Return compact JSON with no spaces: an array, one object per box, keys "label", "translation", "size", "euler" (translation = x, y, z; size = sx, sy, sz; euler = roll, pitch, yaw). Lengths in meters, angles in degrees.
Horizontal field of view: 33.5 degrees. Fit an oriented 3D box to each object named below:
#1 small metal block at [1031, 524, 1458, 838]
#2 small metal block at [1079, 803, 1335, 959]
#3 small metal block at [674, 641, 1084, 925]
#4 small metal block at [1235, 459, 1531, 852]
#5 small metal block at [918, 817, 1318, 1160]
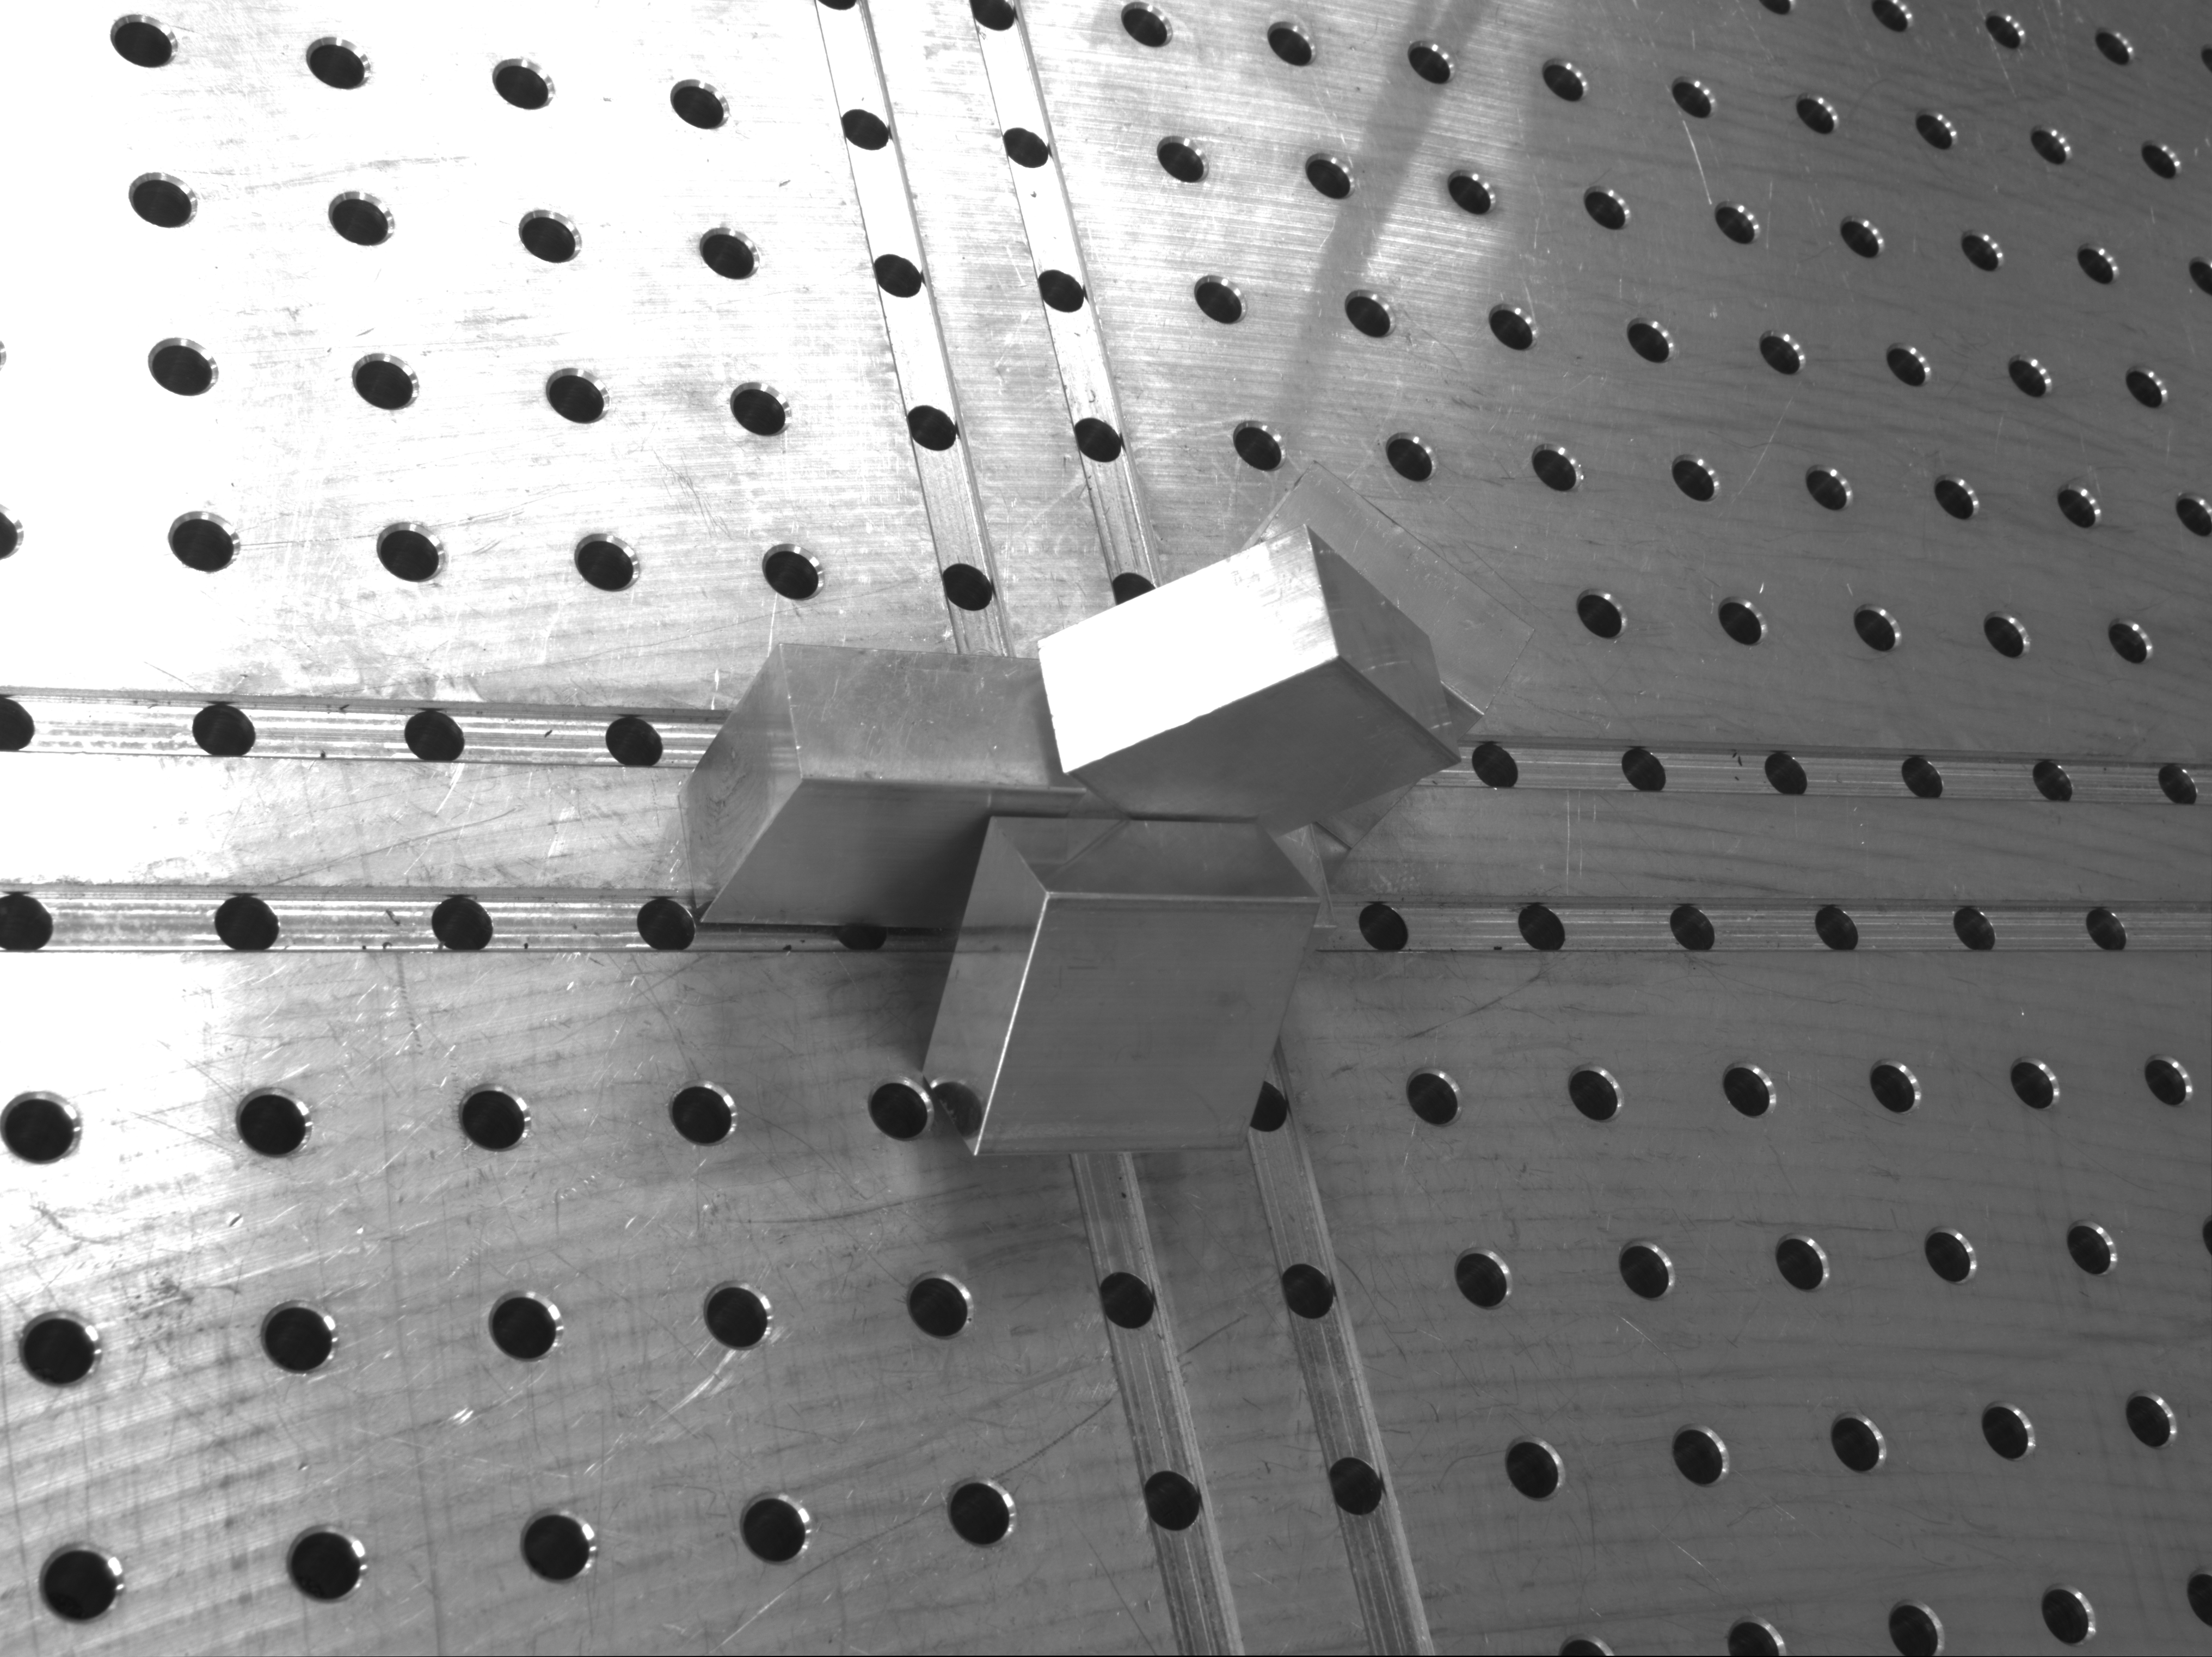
[{"label":"small metal block","translation":[0.023,-0.021,0.606],"size":[0.050,0.050,0.025],"euler":[34,39,-56]},{"label":"small metal block","translation":[0.007,0.000,0.646],"size":[0.050,0.025,0.050],"euler":[2,61,-28]},{"label":"small metal block","translation":[-0.038,-0.006,0.609],"size":[0.050,0.050,0.025],"euler":[1,61,-27]},{"label":"small metal block","translation":[0.040,-0.031,0.667],"size":[0.050,0.050,0.025],"euler":[37,50,-3]},{"label":"small metal block","translation":[0.001,0.027,0.608],"size":[0.050,0.050,0.025],"euler":[1,29,-27]}]
